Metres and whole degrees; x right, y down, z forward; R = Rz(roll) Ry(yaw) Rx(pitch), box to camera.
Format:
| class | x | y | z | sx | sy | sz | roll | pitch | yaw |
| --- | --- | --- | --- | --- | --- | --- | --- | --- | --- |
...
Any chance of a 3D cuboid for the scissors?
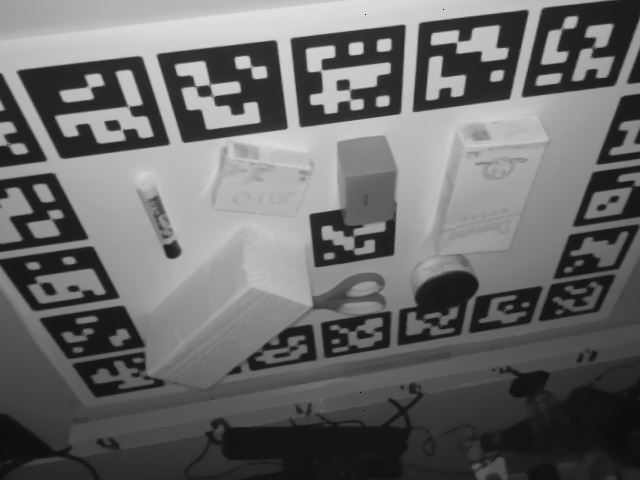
| class | x | y | z | sx | sy | sz | roll | pitch | yaw |
| --- | --- | --- | --- | --- | --- | --- | --- | --- | --- |
| scissors | 0.002 | 0.077 | 0.891 | 0.204 | 0.016 | 0.086 | -4 | 136 | -12 |

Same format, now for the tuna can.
| class | x | y | z | sx | sy | sz | roll | pitch | yaw |
| --- | --- | --- | --- | --- | --- | --- | --- | --- | --- |
| tuna can | 0.175 | 0.057 | 0.893 | 0.086 | 0.034 | 0.085 | -7 | 135 | -6 |

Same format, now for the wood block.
| class | x | y | z | sx | sy | sz | roll | pitch | yaw |
| --- | --- | --- | --- | --- | --- | --- | --- | --- | --- |
| wood block | -0.112 | 0.073 | 0.811 | 0.091 | 0.091 | 0.203 | 28 | 124 | -35 |

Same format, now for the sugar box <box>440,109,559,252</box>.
| class | x | y | z | sx | sy | sz | roll | pitch | yaw |
| --- | --- | --- | --- | --- | --- | --- | --- | --- | --- |
| sugar box | 0.194 | -0.061 | 0.774 | 0.093 | 0.045 | 0.174 | -4 | 136 | -7 |

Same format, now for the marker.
| class | x | y | z | sx | sy | sz | roll | pitch | yaw |
| --- | --- | --- | --- | --- | --- | --- | --- | --- | --- |
| marker | -0.159 | -0.036 | 0.732 | 0.020 | 0.020 | 0.120 | -7 | 134 | -5 |

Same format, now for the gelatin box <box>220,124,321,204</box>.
| class | x | y | z | sx | sy | sz | roll | pitch | yaw |
| --- | --- | --- | --- | --- | --- | --- | --- | --- | --- |
| gelatin box | -0.052 | -0.076 | 0.711 | 0.090 | 0.030 | 0.072 | 6 | 133 | -19 |

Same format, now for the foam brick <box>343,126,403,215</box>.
| class | x | y | z | sx | sy | sz | roll | pitch | yaw |
| --- | --- | --- | --- | --- | --- | --- | --- | --- | --- |
| foam brick | 0.053 | -0.073 | 0.718 | 0.053 | 0.051 | 0.077 | -7 | 135 | -6 |
